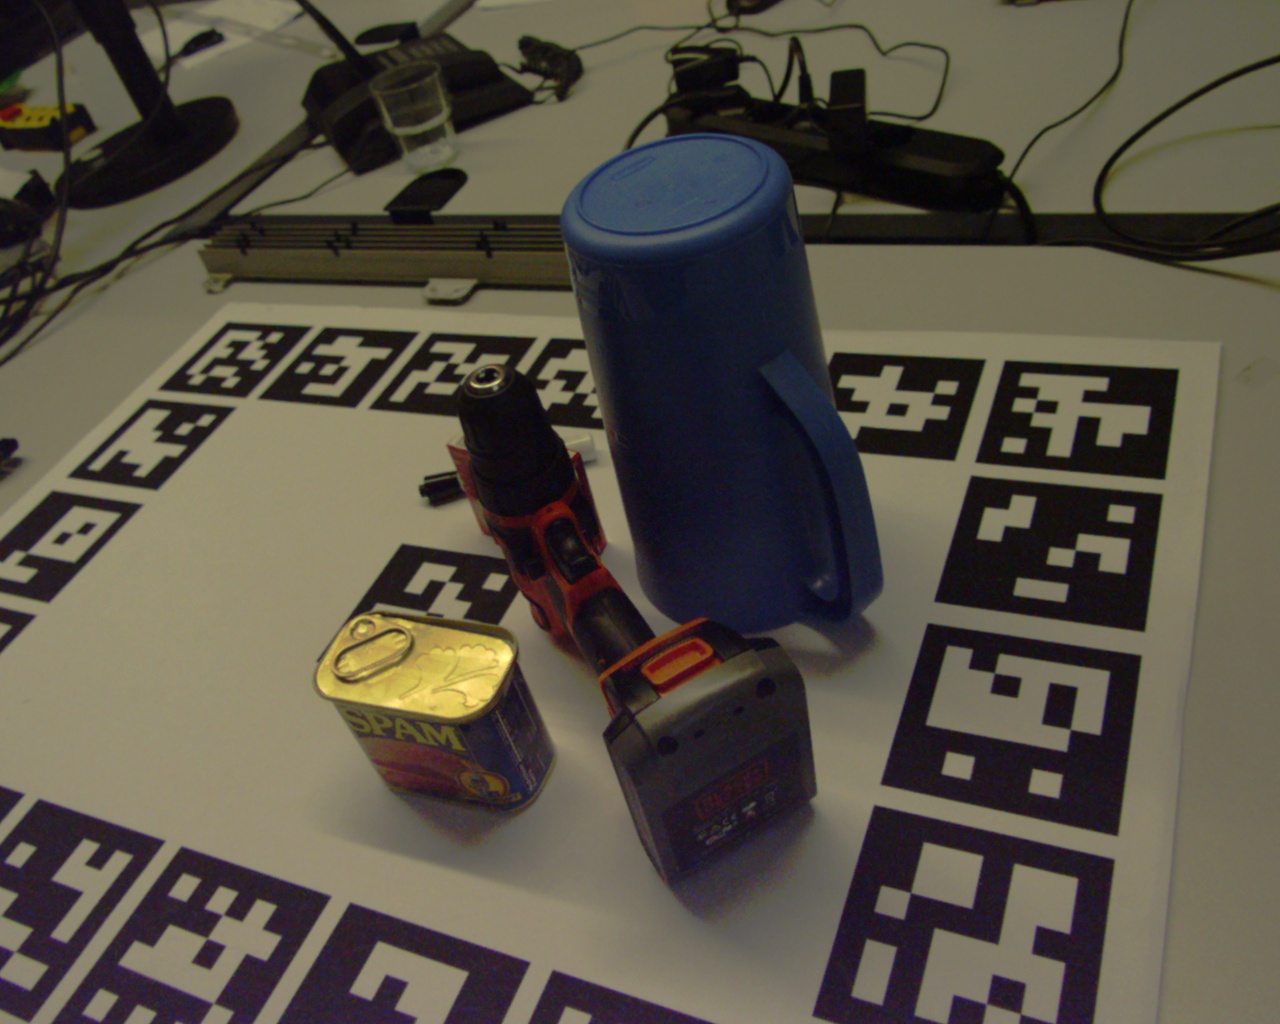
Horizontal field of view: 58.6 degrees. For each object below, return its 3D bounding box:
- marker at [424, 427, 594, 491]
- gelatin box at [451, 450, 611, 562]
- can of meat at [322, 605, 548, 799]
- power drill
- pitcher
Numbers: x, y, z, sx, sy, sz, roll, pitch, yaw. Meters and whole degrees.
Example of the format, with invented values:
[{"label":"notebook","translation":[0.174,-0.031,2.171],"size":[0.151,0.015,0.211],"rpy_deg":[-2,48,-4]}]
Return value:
[{"label":"marker","translation":[-0.092,-0.036,0.796],"size":[0.121,0.019,0.020],"rpy_deg":[-13,43,7]},{"label":"gelatin box","translation":[-0.069,-0.009,0.723],"size":[0.090,0.072,0.030],"rpy_deg":[18,56,31]},{"label":"can of meat","translation":[-0.106,0.102,0.606],"size":[0.103,0.083,0.057],"rpy_deg":[7,45,24]},{"label":"power drill","translation":[-0.031,0.032,0.585],"size":[0.057,0.183,0.189],"rpy_deg":[-33,50,-13]},{"label":"pitcher","translation":[0.046,-0.050,0.611],"size":[0.133,0.240,0.191],"rpy_deg":[-36,38,-14]}]
